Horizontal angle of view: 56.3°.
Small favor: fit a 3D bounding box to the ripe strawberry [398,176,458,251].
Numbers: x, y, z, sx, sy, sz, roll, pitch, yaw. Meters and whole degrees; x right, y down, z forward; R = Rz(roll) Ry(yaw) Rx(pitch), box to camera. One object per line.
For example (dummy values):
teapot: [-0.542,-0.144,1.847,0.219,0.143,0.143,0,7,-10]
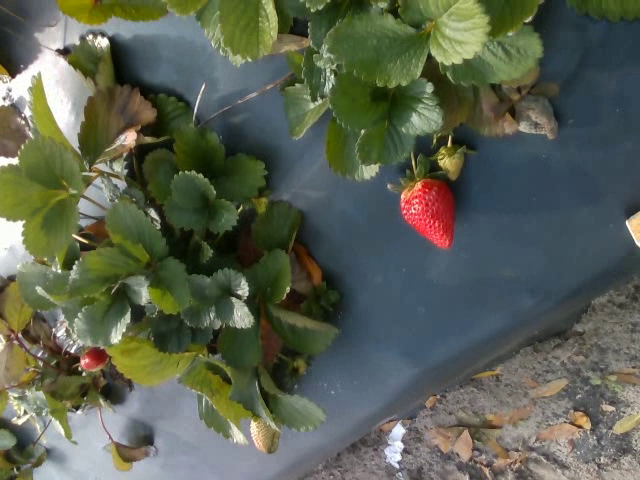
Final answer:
ripe strawberry: [0.079,-0.017,0.416,0.045,0.058,0.050,-33,-3,30]
